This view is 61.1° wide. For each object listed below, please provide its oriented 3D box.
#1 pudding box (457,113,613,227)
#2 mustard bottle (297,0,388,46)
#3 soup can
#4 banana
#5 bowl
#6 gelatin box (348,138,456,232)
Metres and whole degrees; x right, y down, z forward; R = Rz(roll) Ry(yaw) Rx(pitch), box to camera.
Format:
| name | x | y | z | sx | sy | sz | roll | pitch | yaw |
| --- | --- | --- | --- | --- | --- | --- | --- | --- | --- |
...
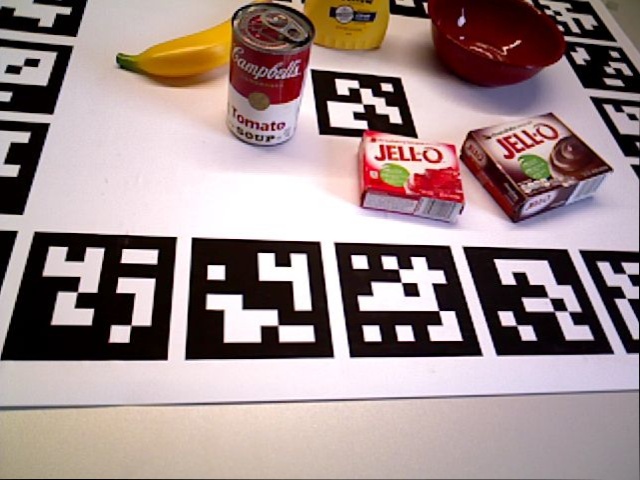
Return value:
| name | x | y | z | sx | sy | sz | roll | pitch | yaw |
| --- | --- | --- | --- | --- | --- | --- | --- | --- | --- |
| pudding box | 0.200 | -0.069 | 0.512 | 0.112 | 0.039 | 0.089 | -19 | 65 | -24 |
| mustard bottle | 0.037 | -0.292 | 0.532 | 0.095 | 0.196 | 0.057 | 3 | 50 | -12 |
| soup can | -0.059 | -0.146 | 0.461 | 0.067 | 0.104 | 0.067 | 7 | 50 | -10 |
| banana | -0.118 | -0.211 | 0.551 | 0.074 | 0.040 | 0.193 | 29 | 52 | 23 |
| bowl | 0.189 | -0.221 | 0.619 | 0.160 | 0.056 | 0.159 | 5 | 52 | -7 |
| gelatin box | 0.069 | -0.049 | 0.474 | 0.089 | 0.031 | 0.072 | 7 | 55 | -6 |
